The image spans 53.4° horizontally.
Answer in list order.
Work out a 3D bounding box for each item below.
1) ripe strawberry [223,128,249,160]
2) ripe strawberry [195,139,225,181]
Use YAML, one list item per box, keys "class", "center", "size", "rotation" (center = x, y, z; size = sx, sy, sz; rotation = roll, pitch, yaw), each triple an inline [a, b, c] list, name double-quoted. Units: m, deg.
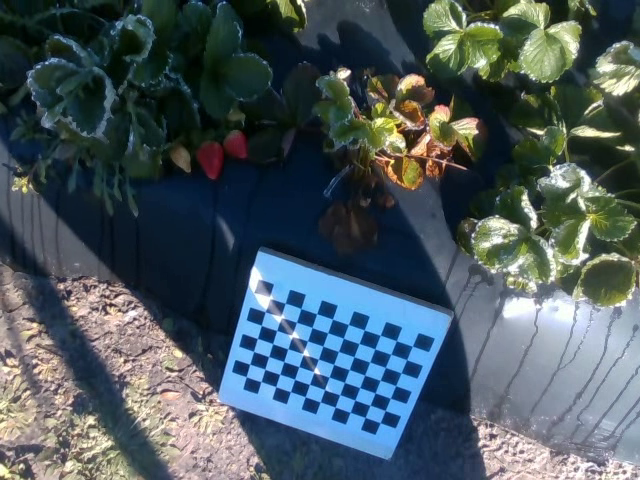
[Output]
- class: "ripe strawberry"
  center: [-0.103, -0.119, 0.791]
  size: [0.036, 0.041, 0.030]
  rotation: [-43, 5, 21]
- class: "ripe strawberry"
  center: [-0.135, -0.095, 0.787]
  size: [0.036, 0.052, 0.039]
  rotation: [-18, -19, 15]
